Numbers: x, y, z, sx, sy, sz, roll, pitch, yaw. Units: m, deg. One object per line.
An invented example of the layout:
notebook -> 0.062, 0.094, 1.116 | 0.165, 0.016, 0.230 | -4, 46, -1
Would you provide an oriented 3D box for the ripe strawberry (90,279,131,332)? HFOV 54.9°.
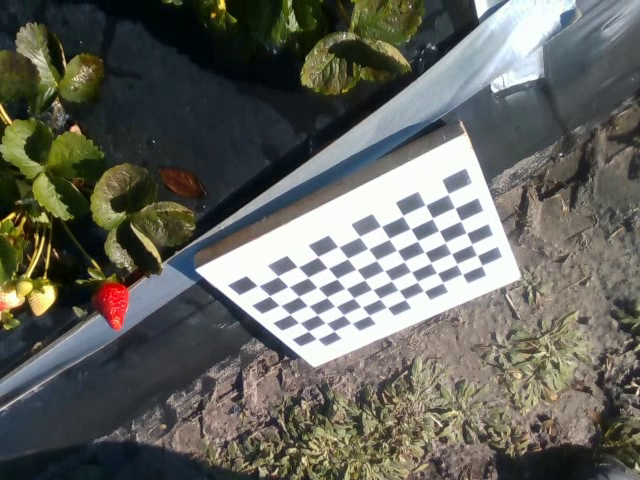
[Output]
ripe strawberry -> -0.174, 0.056, 0.507 | 0.036, 0.046, 0.038 | -24, -25, 16
